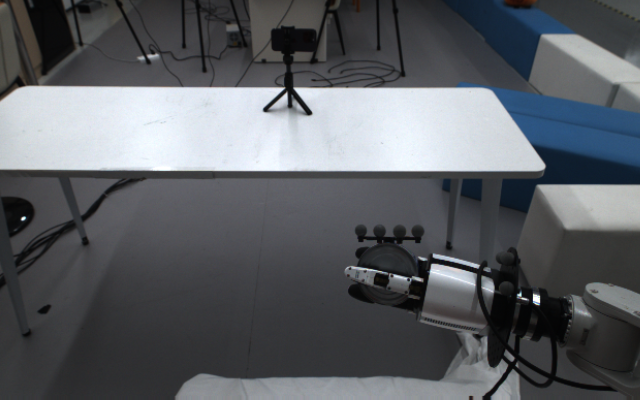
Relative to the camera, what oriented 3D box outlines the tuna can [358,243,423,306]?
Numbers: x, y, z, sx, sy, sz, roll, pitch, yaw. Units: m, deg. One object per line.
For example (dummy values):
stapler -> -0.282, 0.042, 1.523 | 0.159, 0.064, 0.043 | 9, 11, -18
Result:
tuna can -> 0.097, 0.100, 0.672 | 0.085, 0.085, 0.034 | 15, 2, 18
